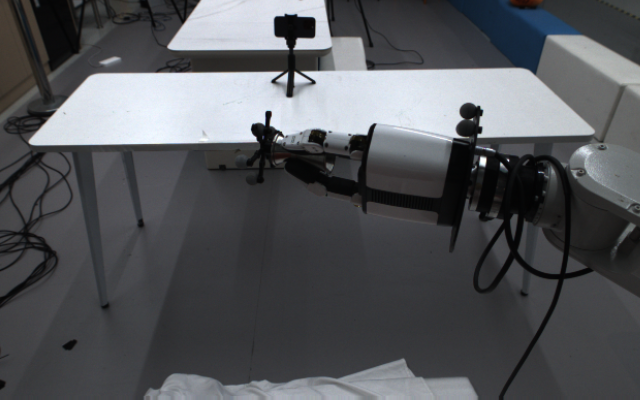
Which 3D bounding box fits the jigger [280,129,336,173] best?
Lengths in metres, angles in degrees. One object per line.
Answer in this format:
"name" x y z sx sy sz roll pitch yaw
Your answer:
"jigger" -0.013 -0.060 0.572 0.071 0.043 0.043 9 35 16
